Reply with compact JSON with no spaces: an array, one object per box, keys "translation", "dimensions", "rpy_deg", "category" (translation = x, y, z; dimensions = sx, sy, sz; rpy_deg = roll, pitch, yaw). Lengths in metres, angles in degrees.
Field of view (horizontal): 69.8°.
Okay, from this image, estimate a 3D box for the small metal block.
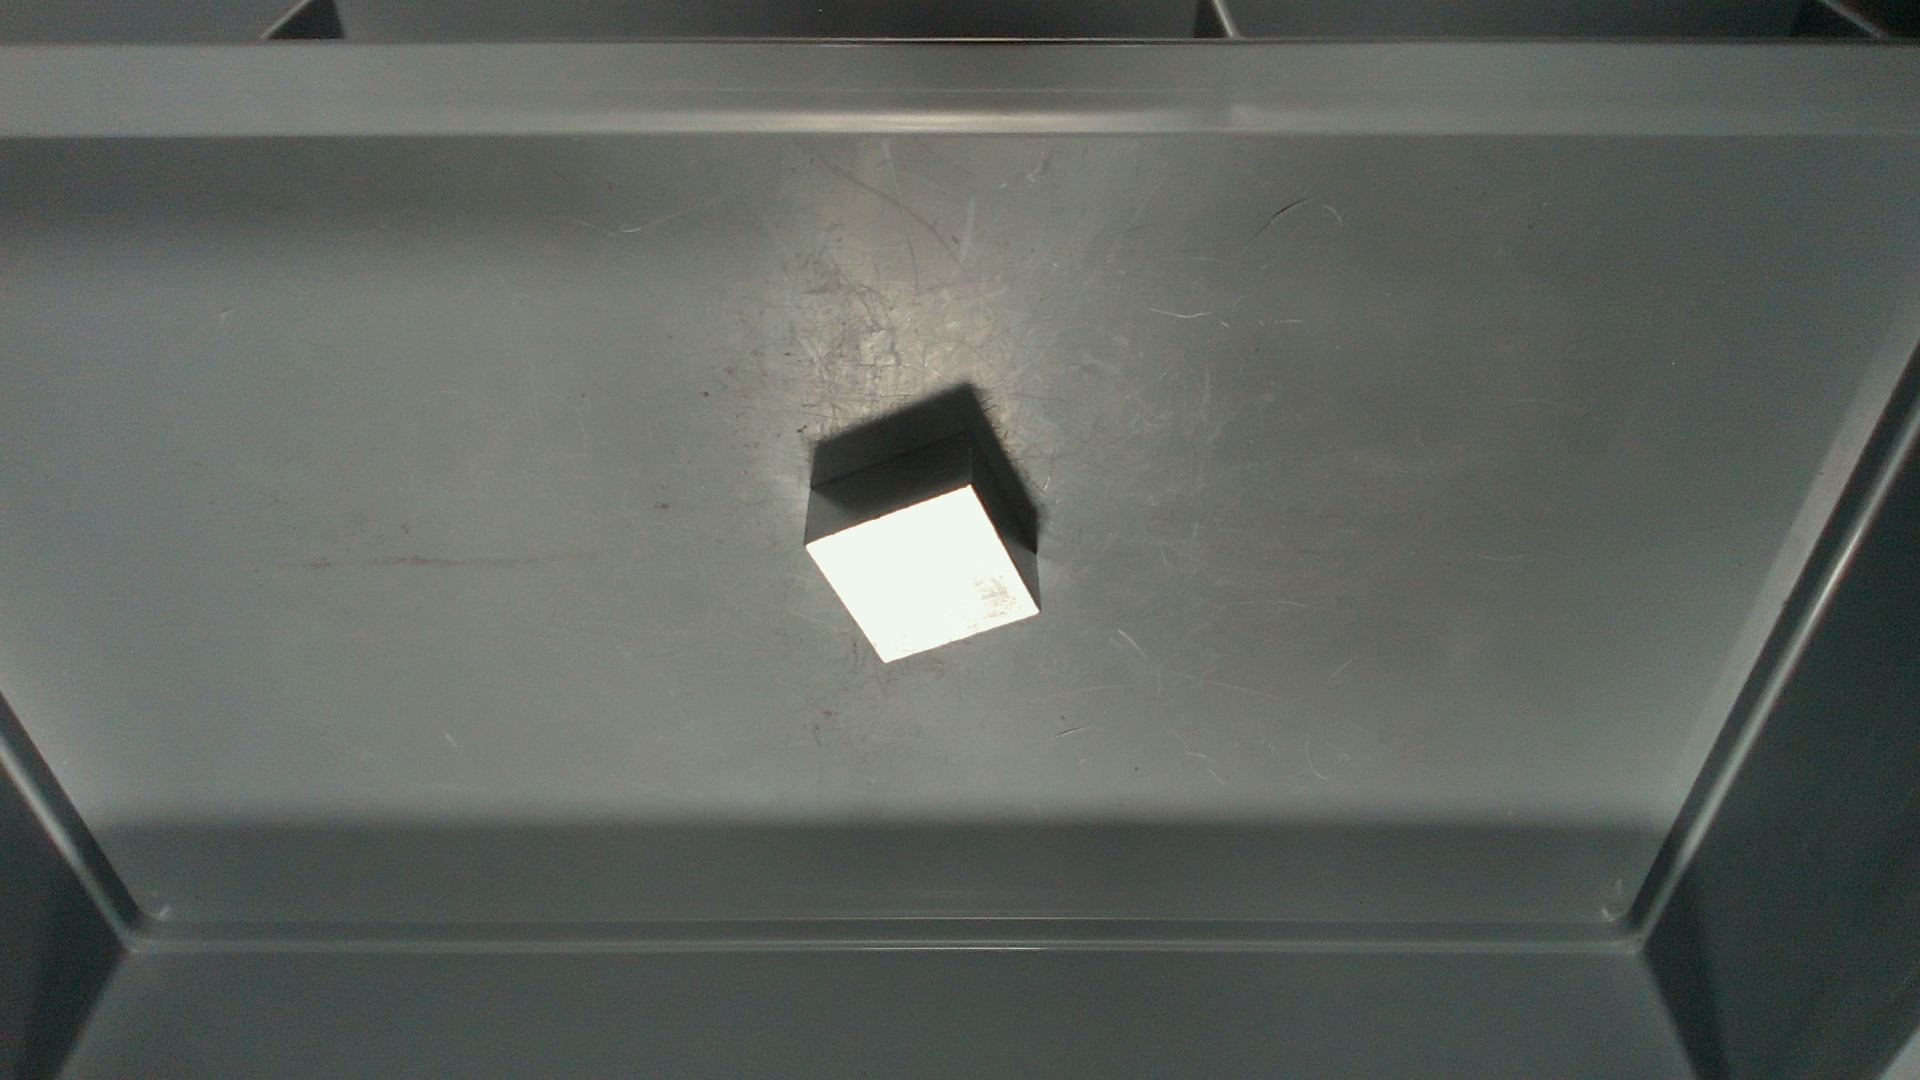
[{"translation":[-0.010,0.003,0.389],"dimensions":[0.050,0.025,0.050],"rpy_deg":[-18,128,15],"category":"small metal block"}]
